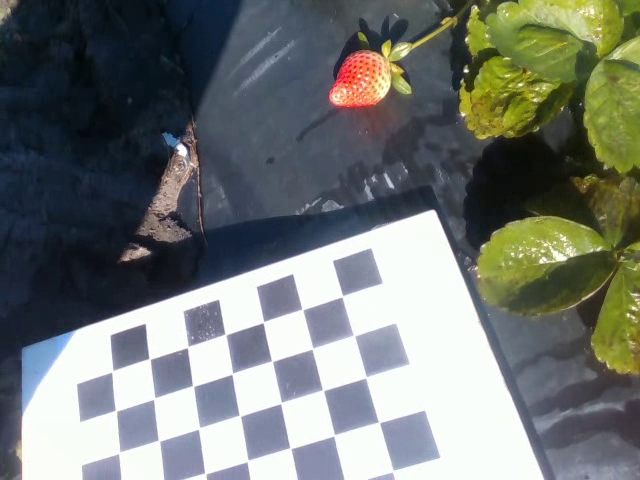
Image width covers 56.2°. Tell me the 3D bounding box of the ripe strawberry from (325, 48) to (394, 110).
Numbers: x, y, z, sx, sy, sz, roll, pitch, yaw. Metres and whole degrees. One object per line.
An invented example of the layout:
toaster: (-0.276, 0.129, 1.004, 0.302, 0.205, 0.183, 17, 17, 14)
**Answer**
ripe strawberry: (0.025, -0.100, 0.381, 0.053, 0.039, 0.041, -31, -30, -18)
